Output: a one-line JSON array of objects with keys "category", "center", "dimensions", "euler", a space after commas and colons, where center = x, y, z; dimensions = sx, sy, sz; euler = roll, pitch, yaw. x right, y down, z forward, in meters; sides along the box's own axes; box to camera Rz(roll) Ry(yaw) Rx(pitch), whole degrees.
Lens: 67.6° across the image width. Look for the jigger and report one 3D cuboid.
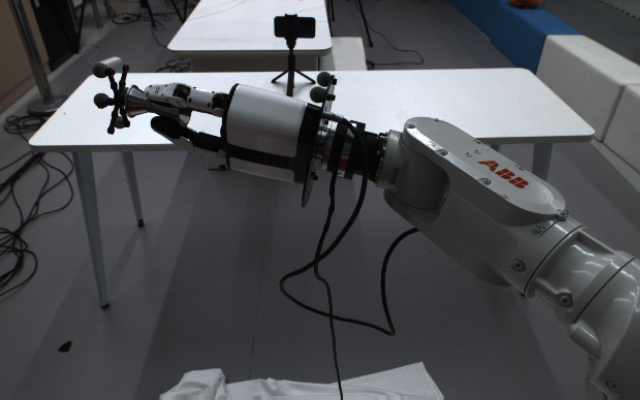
[{"category": "jigger", "center": [-0.193, -0.119, 0.595], "dimensions": [0.071, 0.043, 0.043], "euler": [8, 35, 2]}]
